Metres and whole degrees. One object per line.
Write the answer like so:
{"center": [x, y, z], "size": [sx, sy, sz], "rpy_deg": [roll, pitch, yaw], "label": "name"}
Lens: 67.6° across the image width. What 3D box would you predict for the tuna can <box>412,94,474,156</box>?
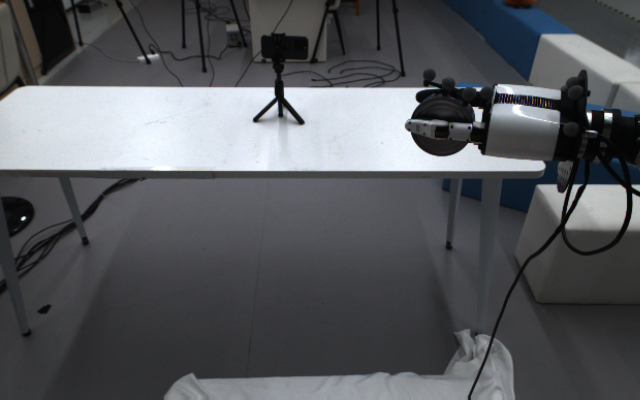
{"center": [0.173, -0.109, 0.678], "size": [0.085, 0.085, 0.034], "rpy_deg": [15, 28, 18], "label": "tuna can"}
